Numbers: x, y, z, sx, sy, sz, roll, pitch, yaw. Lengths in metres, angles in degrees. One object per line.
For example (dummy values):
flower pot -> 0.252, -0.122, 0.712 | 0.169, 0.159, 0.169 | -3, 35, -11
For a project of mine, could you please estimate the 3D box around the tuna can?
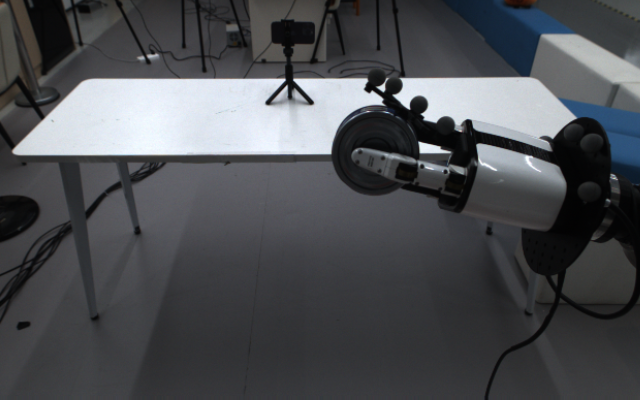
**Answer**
tuna can -> 0.059, -0.043, 0.476 | 0.085, 0.085, 0.034 | 6, 19, 6
